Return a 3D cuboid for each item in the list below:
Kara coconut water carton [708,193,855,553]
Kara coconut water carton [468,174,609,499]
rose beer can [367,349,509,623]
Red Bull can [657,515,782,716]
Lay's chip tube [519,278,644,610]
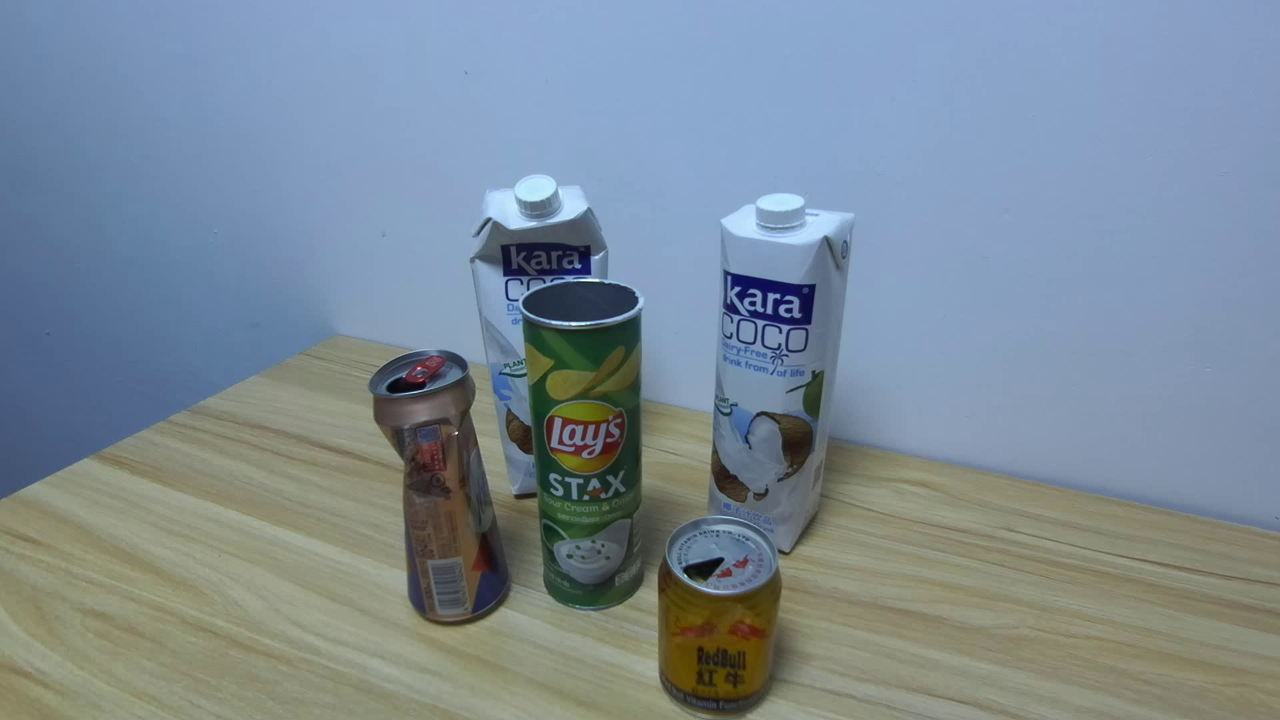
[{"bbox_3d":[0.092,0.009,0.483,0.076,0.245,0.075,14,29,29],"label":"Kara coconut water carton"},{"bbox_3d":[-0.070,-0.021,0.550,0.100,0.244,0.071,-7,29,-8],"label":"Kara coconut water carton"},{"bbox_3d":[-0.123,0.082,0.437,0.065,0.167,0.076,-2,26,4],"label":"rose beer can"},{"bbox_3d":[0.042,0.140,0.389,0.069,0.092,0.069,-2,27,1],"label":"Red Bull can"},{"bbox_3d":[-0.031,0.055,0.439,0.071,0.202,0.071,0,27,0],"label":"Lay's chip tube"}]
